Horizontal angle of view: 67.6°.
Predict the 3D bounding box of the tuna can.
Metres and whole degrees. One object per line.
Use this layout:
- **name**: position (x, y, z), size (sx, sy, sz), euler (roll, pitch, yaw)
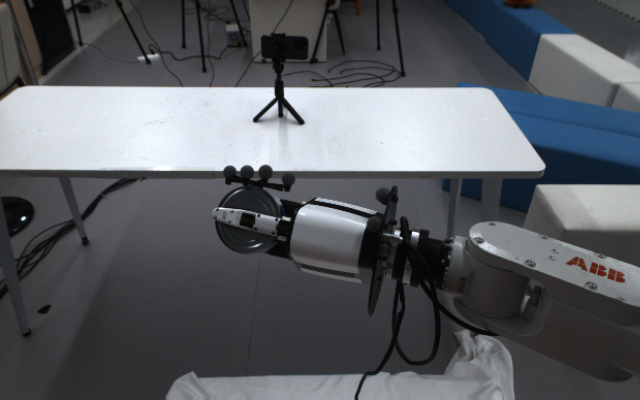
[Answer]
- **tuna can**: position (-0.085, 0.025, 0.615), size (0.085, 0.085, 0.034), euler (11, -5, 13)
